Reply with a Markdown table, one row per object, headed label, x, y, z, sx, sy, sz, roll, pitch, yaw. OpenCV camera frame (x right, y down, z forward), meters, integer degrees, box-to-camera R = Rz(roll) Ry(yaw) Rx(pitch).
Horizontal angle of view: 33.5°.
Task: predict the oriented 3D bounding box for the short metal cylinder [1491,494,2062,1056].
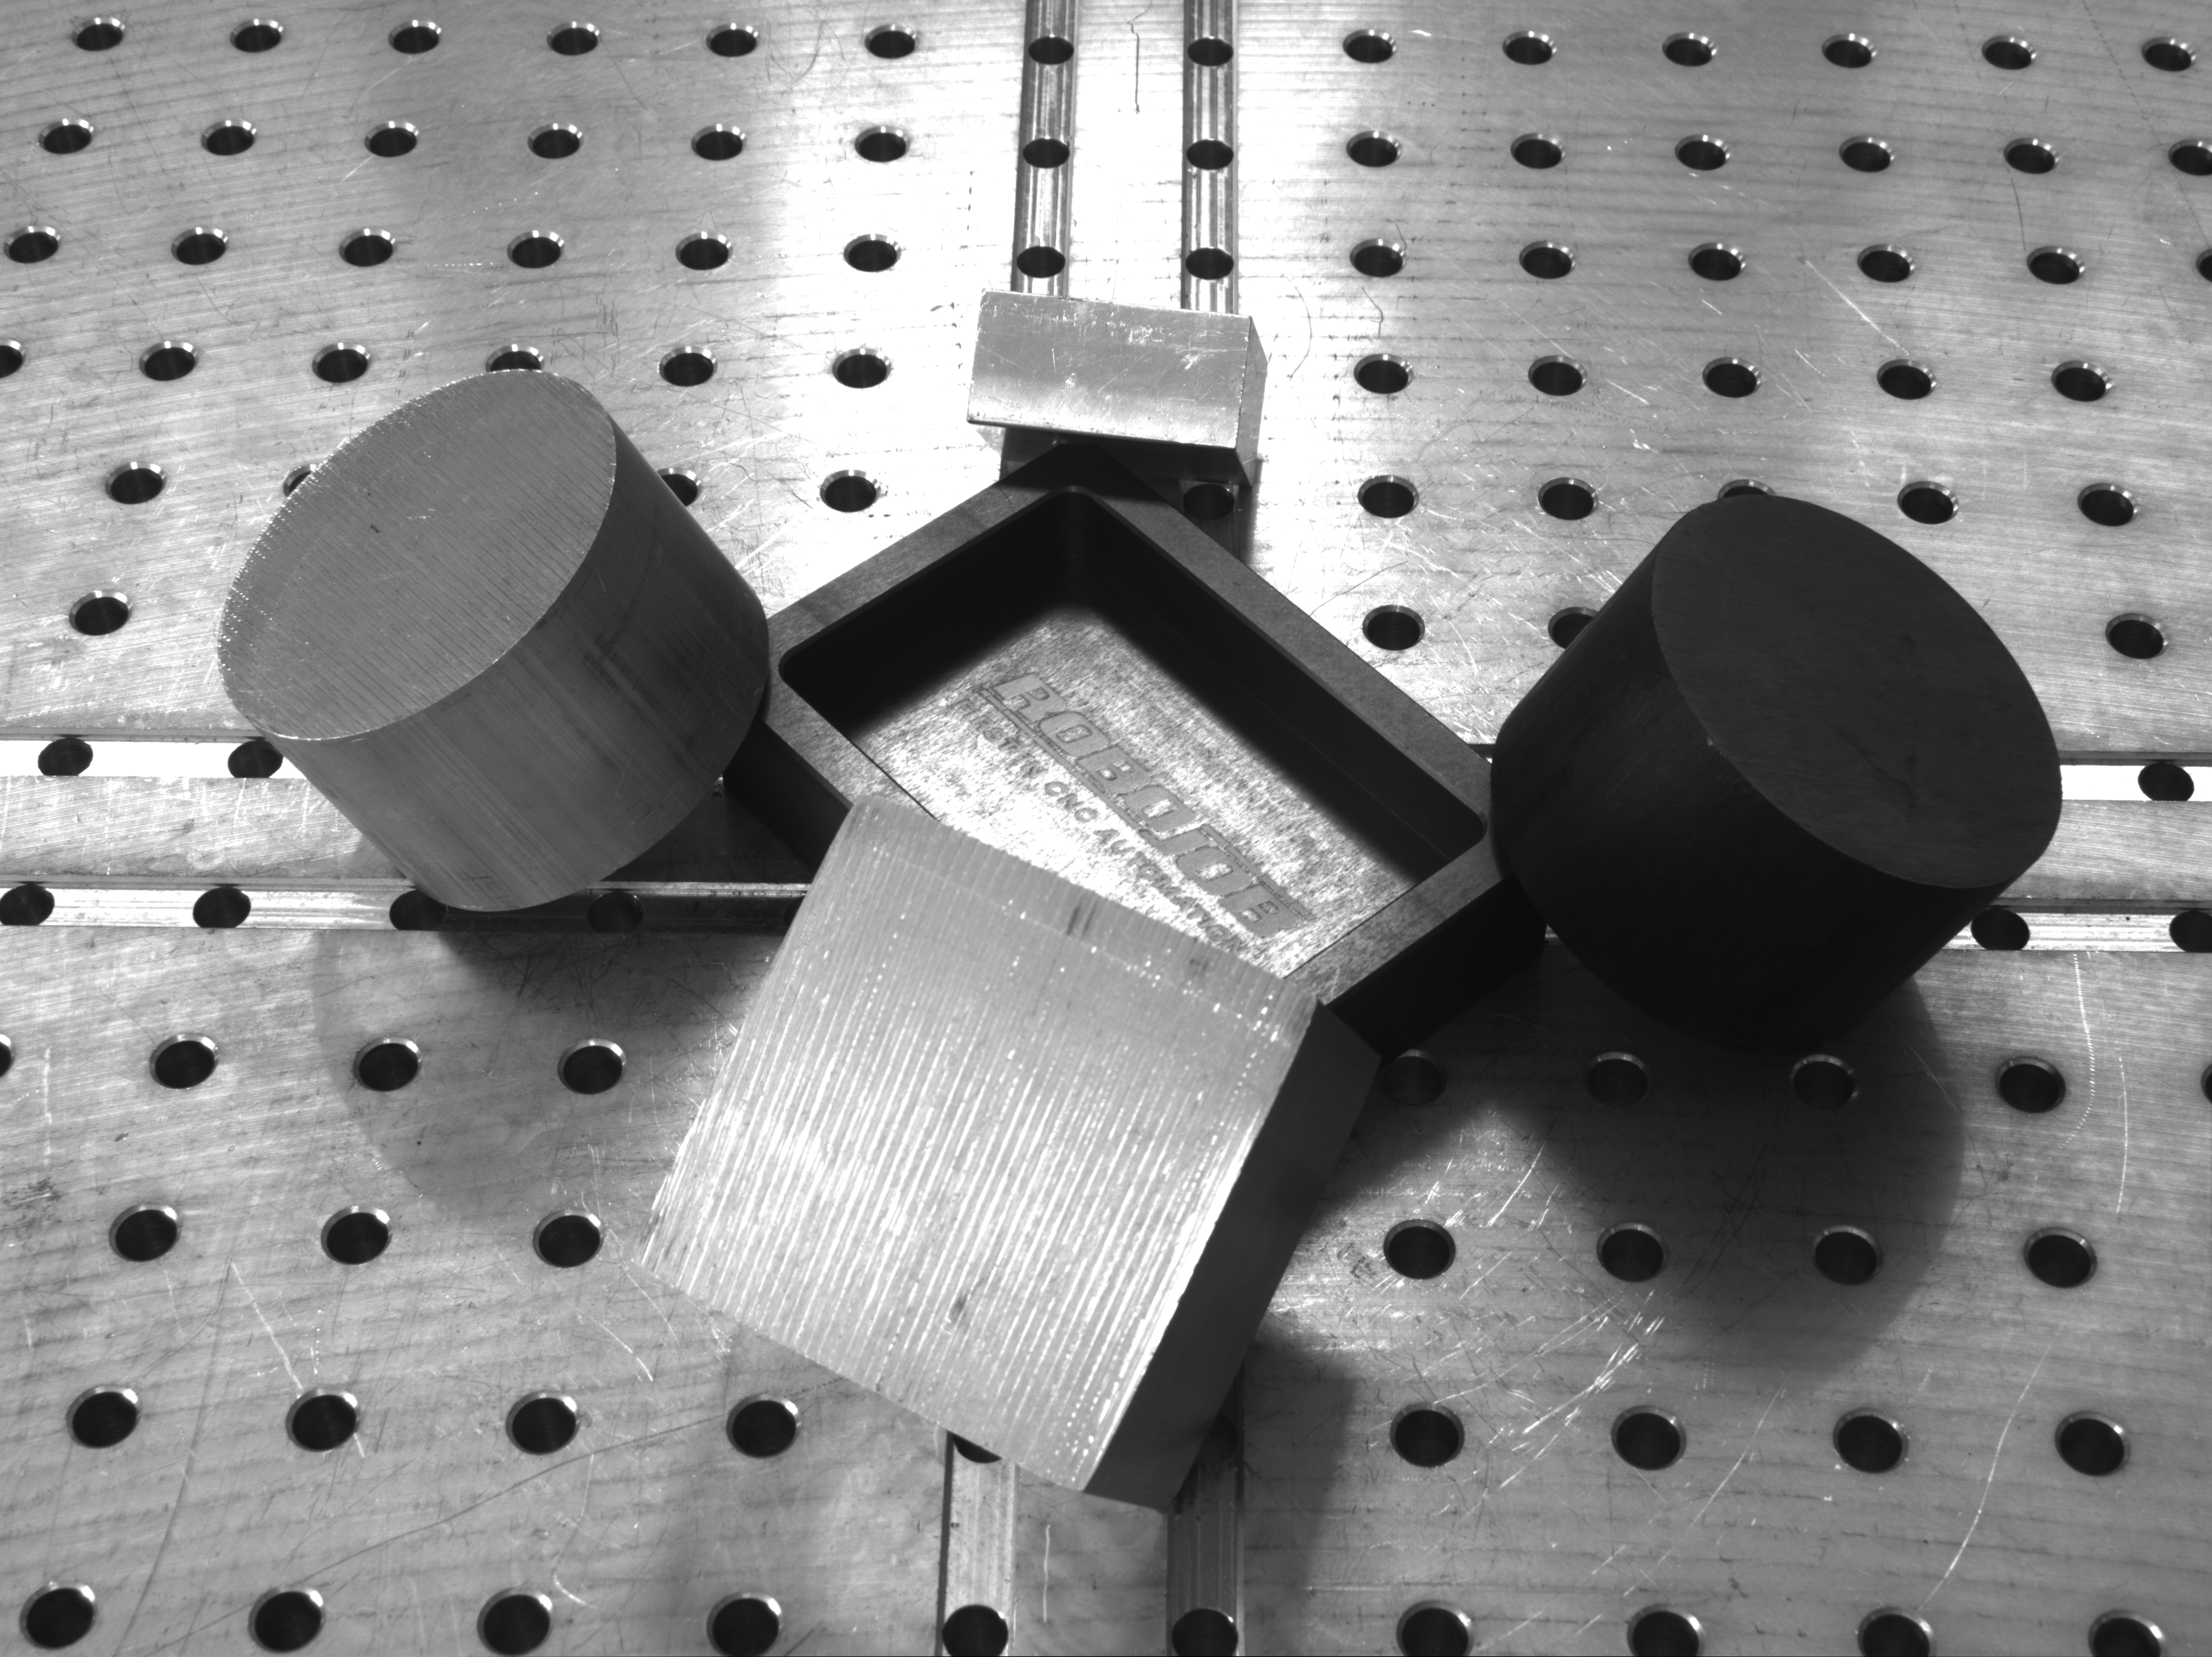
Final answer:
| label | x | y | z | sx | sy | sz | roll | pitch | yaw |
| --- | --- | --- | --- | --- | --- | --- | --- | --- | --- |
| short metal cylinder | 0.112 | -0.009 | 0.617 | 0.080 | 0.050 | 0.080 | 18 | 47 | -20 |

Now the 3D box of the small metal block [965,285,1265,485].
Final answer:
| label | x | y | z | sx | sy | sz | roll | pitch | yaw |
| --- | --- | --- | --- | --- | --- | --- | --- | --- | --- |
| small metal block | 0.003 | -0.083 | 0.696 | 0.050 | 0.050 | 0.025 | 7 | 88 | 6 |

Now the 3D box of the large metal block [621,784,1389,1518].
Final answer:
| label | x | y | z | sx | sy | sz | roll | pitch | yaw |
| --- | --- | --- | --- | --- | --- | --- | --- | --- | --- |
| large metal block | -0.014 | 0.050 | 0.564 | 0.080 | 0.050 | 0.080 | 25 | 85 | 19 |

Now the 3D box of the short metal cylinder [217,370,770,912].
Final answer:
| label | x | y | z | sx | sy | sz | roll | pitch | yaw |
| --- | --- | --- | --- | --- | --- | --- | --- | --- | --- |
| short metal cylinder | -0.106 | -0.033 | 0.637 | 0.080 | 0.050 | 0.080 | -17 | 47 | 20 |

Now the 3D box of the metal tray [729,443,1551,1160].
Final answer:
| label | x | y | z | sx | sy | sz | roll | pitch | yaw |
| --- | --- | --- | --- | --- | --- | --- | --- | --- | --- |
| metal tray | 0.004 | -0.006 | 0.646 | 0.090 | 0.030 | 0.130 | -34 | 58 | -25 |
